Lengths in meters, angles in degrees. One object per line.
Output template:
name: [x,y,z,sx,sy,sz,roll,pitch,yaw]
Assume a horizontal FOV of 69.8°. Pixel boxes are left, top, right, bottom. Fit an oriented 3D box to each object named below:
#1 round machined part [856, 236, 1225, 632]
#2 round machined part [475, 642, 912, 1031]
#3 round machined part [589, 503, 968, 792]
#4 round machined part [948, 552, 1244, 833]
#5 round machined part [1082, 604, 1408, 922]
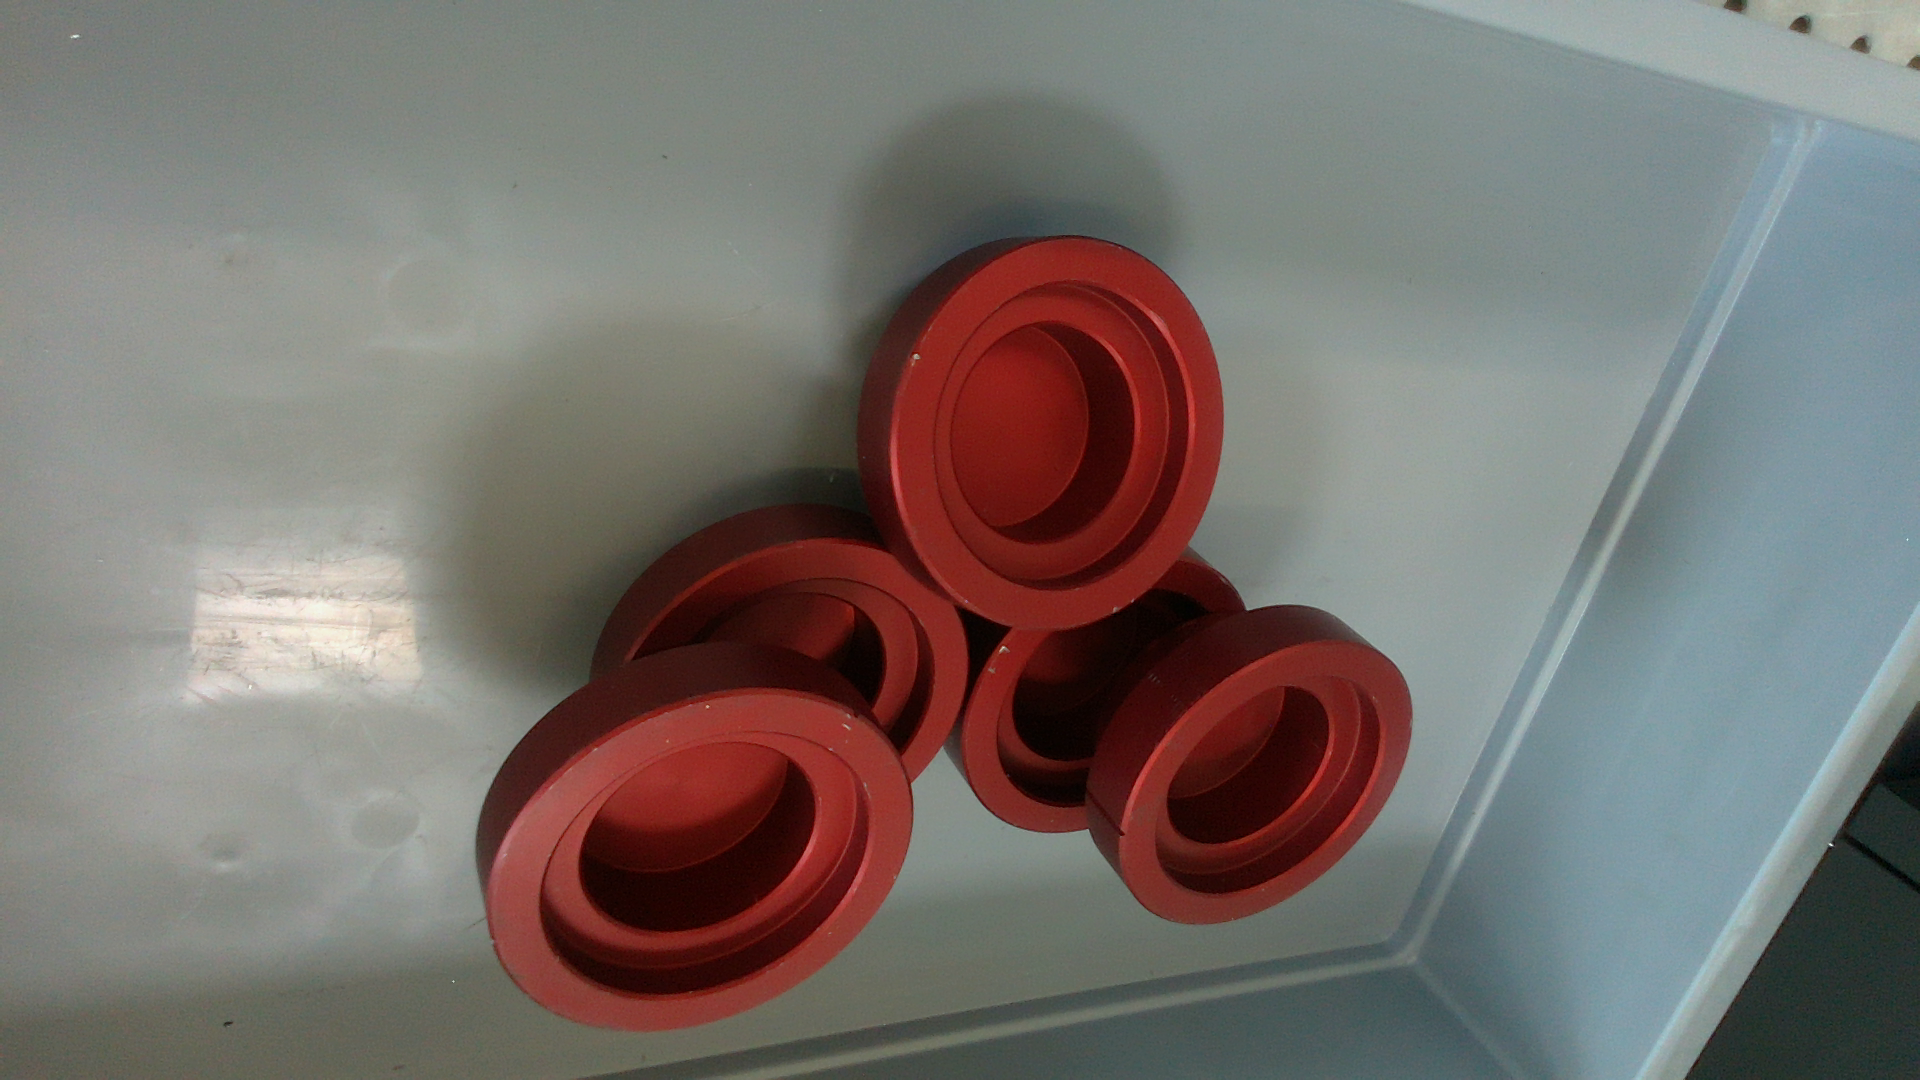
round machined part: [0.017,-0.028,0.356,0.098,0.042,0.098,-7,104,-28]
round machined part: [-0.064,0.066,0.329,0.098,0.042,0.098,-14,124,-21]
round machined part: [-0.051,0.033,0.370,0.098,0.042,0.098,-14,124,-21]
round machined part: [0.036,0.038,0.420,0.098,0.042,0.098,-14,124,-21]
round machined part: [0.078,0.060,0.403,0.098,0.042,0.098,-14,124,-21]
